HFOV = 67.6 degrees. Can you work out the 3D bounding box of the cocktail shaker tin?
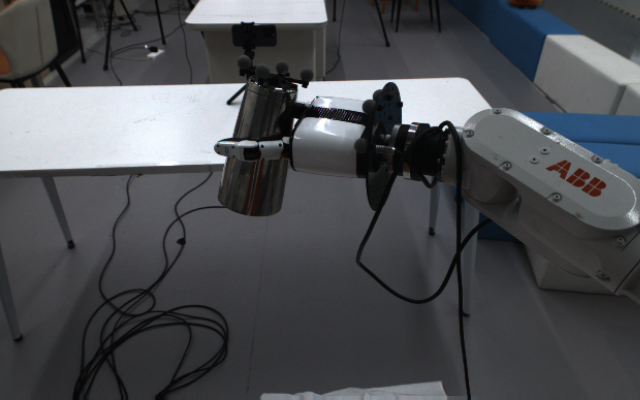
[{"bbox_3d":[-0.077,-0.075,0.651,0.093,0.170,0.093,12,24,-5],"label":"cocktail shaker tin"}]
